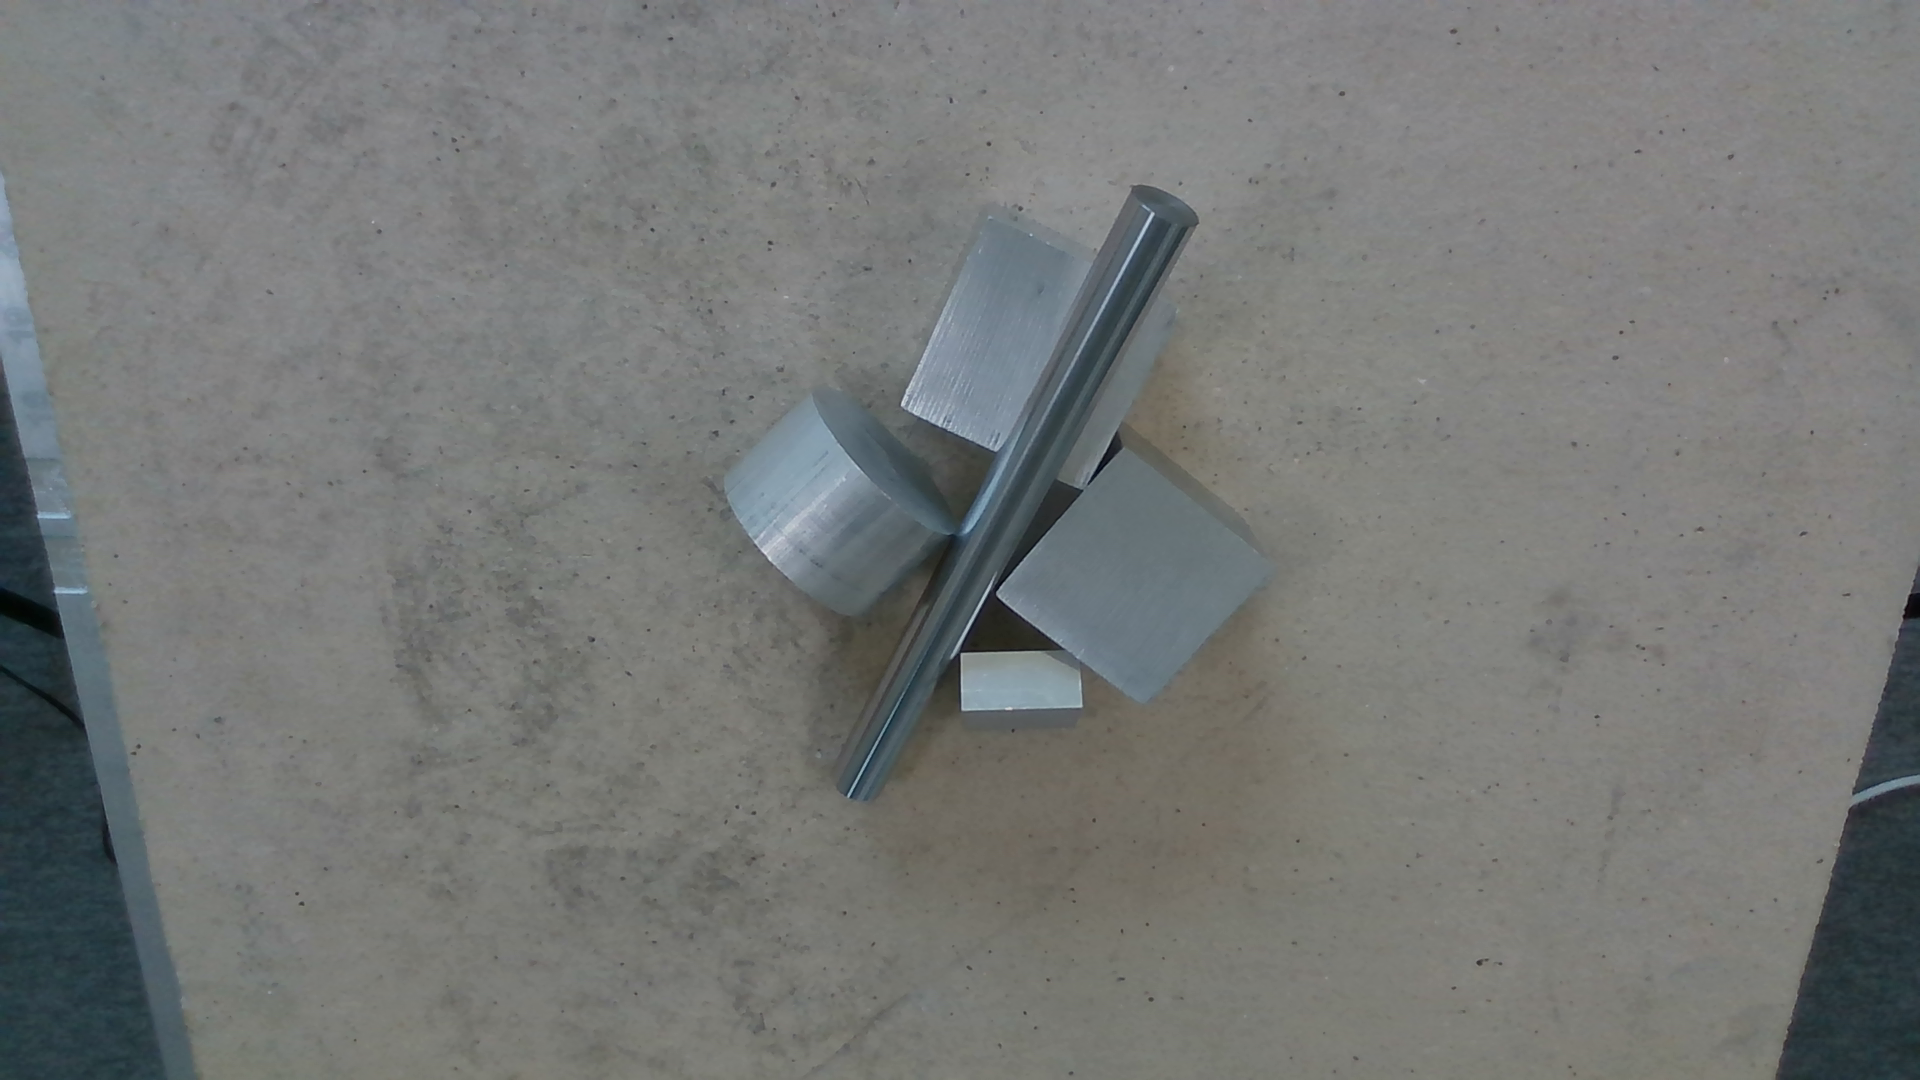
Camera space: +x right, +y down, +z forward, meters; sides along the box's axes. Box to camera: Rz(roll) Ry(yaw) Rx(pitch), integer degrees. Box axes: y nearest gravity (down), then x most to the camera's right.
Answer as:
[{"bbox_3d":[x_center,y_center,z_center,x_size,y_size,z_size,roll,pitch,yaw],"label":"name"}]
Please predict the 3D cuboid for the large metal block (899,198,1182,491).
[{"bbox_3d":[0.030,-0.078,0.543,0.080,0.050,0.080,24,109,-8],"label":"large metal block"}]

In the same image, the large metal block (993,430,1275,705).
[{"bbox_3d":[0.069,0.007,0.572,0.080,0.050,0.080,37,106,-13],"label":"large metal block"}]

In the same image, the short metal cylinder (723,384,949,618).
[{"bbox_3d":[-0.048,-0.016,0.549,0.050,0.080,0.080,-42,105,14],"label":"short metal cylinder"}]

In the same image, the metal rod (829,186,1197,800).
[{"bbox_3d":[0.010,-0.001,0.541,0.025,0.025,0.301,22,125,-8],"label":"metal rod"}]

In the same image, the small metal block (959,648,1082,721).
[{"bbox_3d":[0.025,0.064,0.593,0.050,0.050,0.025,-2,74,1],"label":"small metal block"}]
